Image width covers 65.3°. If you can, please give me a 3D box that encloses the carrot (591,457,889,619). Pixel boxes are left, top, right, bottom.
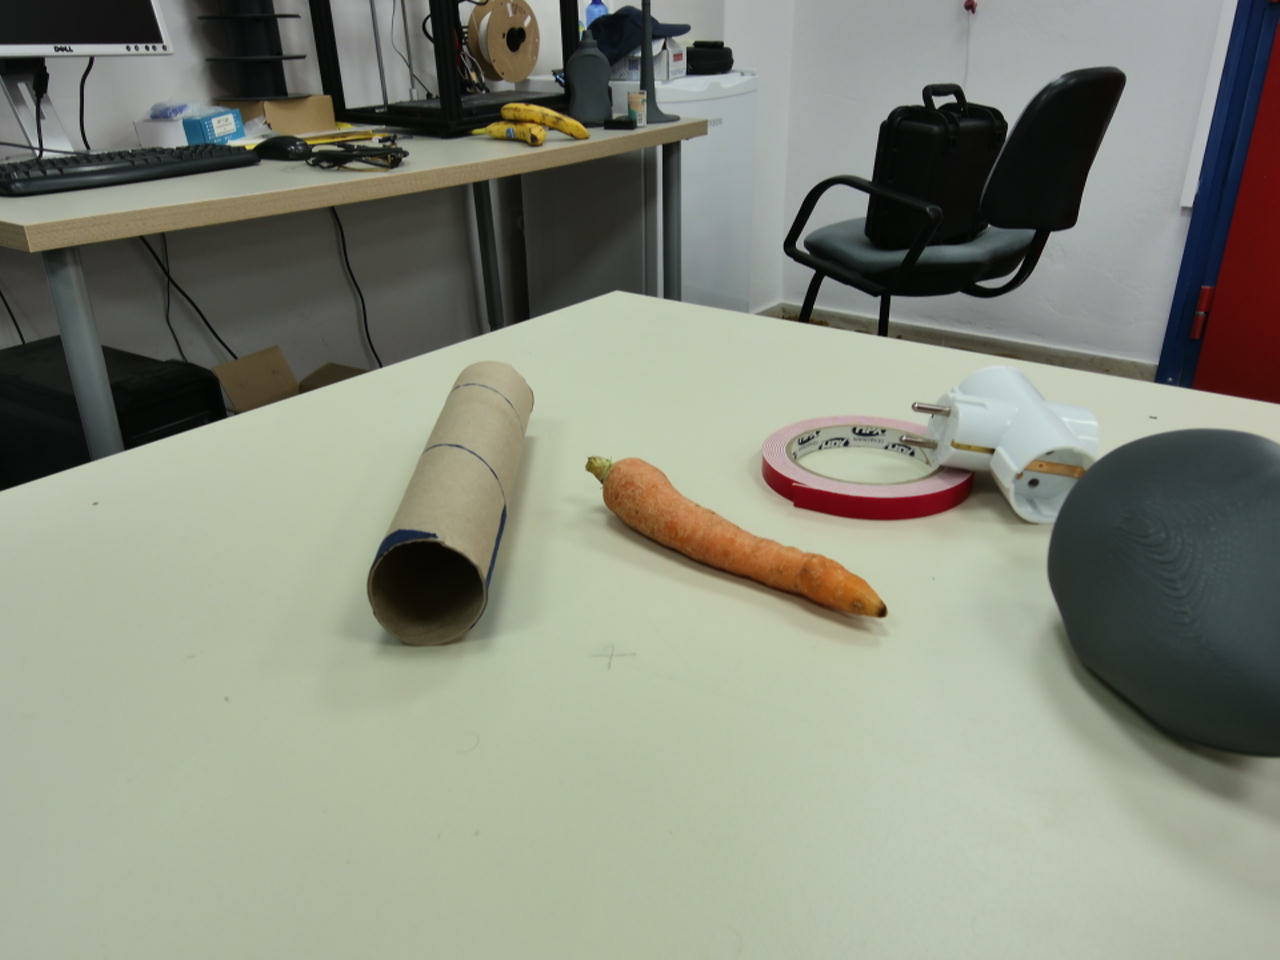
[{"bbox_3d":[0.036,0.022,0.446,0.030,0.032,0.173,-19,29,-38],"label":"carrot"}]
